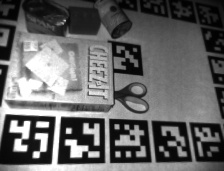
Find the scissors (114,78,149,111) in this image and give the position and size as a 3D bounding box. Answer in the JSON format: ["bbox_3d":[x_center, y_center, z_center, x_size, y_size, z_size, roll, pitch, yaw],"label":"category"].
[{"bbox_3d":[-0.007,0.022,0.537,0.204,0.016,0.087,0,71,-17],"label":"scissors"}]

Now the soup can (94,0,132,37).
[{"bbox_3d":[0.002,-0.199,0.614,0.068,0.068,0.101,-34,78,-25],"label":"soup can"}]

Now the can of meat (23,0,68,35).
[{"bbox_3d":[-0.164,-0.164,0.528,0.102,0.083,0.058,18,67,-10],"label":"can of meat"}]

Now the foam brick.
[{"bbox_3d":[-0.078,-0.180,0.583,0.079,0.051,0.052,-6,73,-19],"label":"foam brick"}]

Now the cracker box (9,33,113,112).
[{"bbox_3d":[-0.110,-0.031,0.489,0.215,0.072,0.163,-1,70,-14],"label":"cracker box"}]
